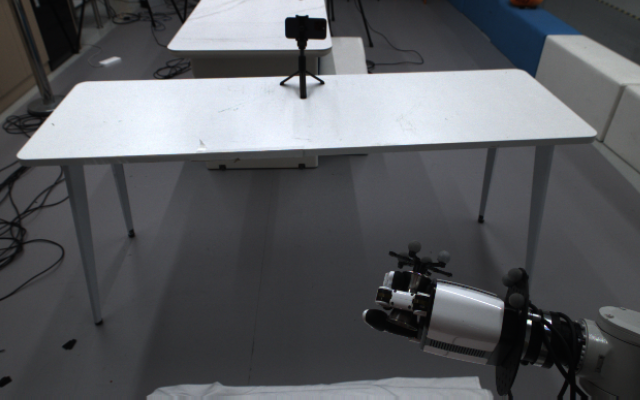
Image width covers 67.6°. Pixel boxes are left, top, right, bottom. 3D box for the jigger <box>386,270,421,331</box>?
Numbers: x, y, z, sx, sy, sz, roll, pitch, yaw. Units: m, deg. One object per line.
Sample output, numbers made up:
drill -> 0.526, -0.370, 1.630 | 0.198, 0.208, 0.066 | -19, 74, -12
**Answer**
jigger -> 0.118, 0.129, 0.637 | 0.043, 0.043, 0.071 | 16, 70, 19
